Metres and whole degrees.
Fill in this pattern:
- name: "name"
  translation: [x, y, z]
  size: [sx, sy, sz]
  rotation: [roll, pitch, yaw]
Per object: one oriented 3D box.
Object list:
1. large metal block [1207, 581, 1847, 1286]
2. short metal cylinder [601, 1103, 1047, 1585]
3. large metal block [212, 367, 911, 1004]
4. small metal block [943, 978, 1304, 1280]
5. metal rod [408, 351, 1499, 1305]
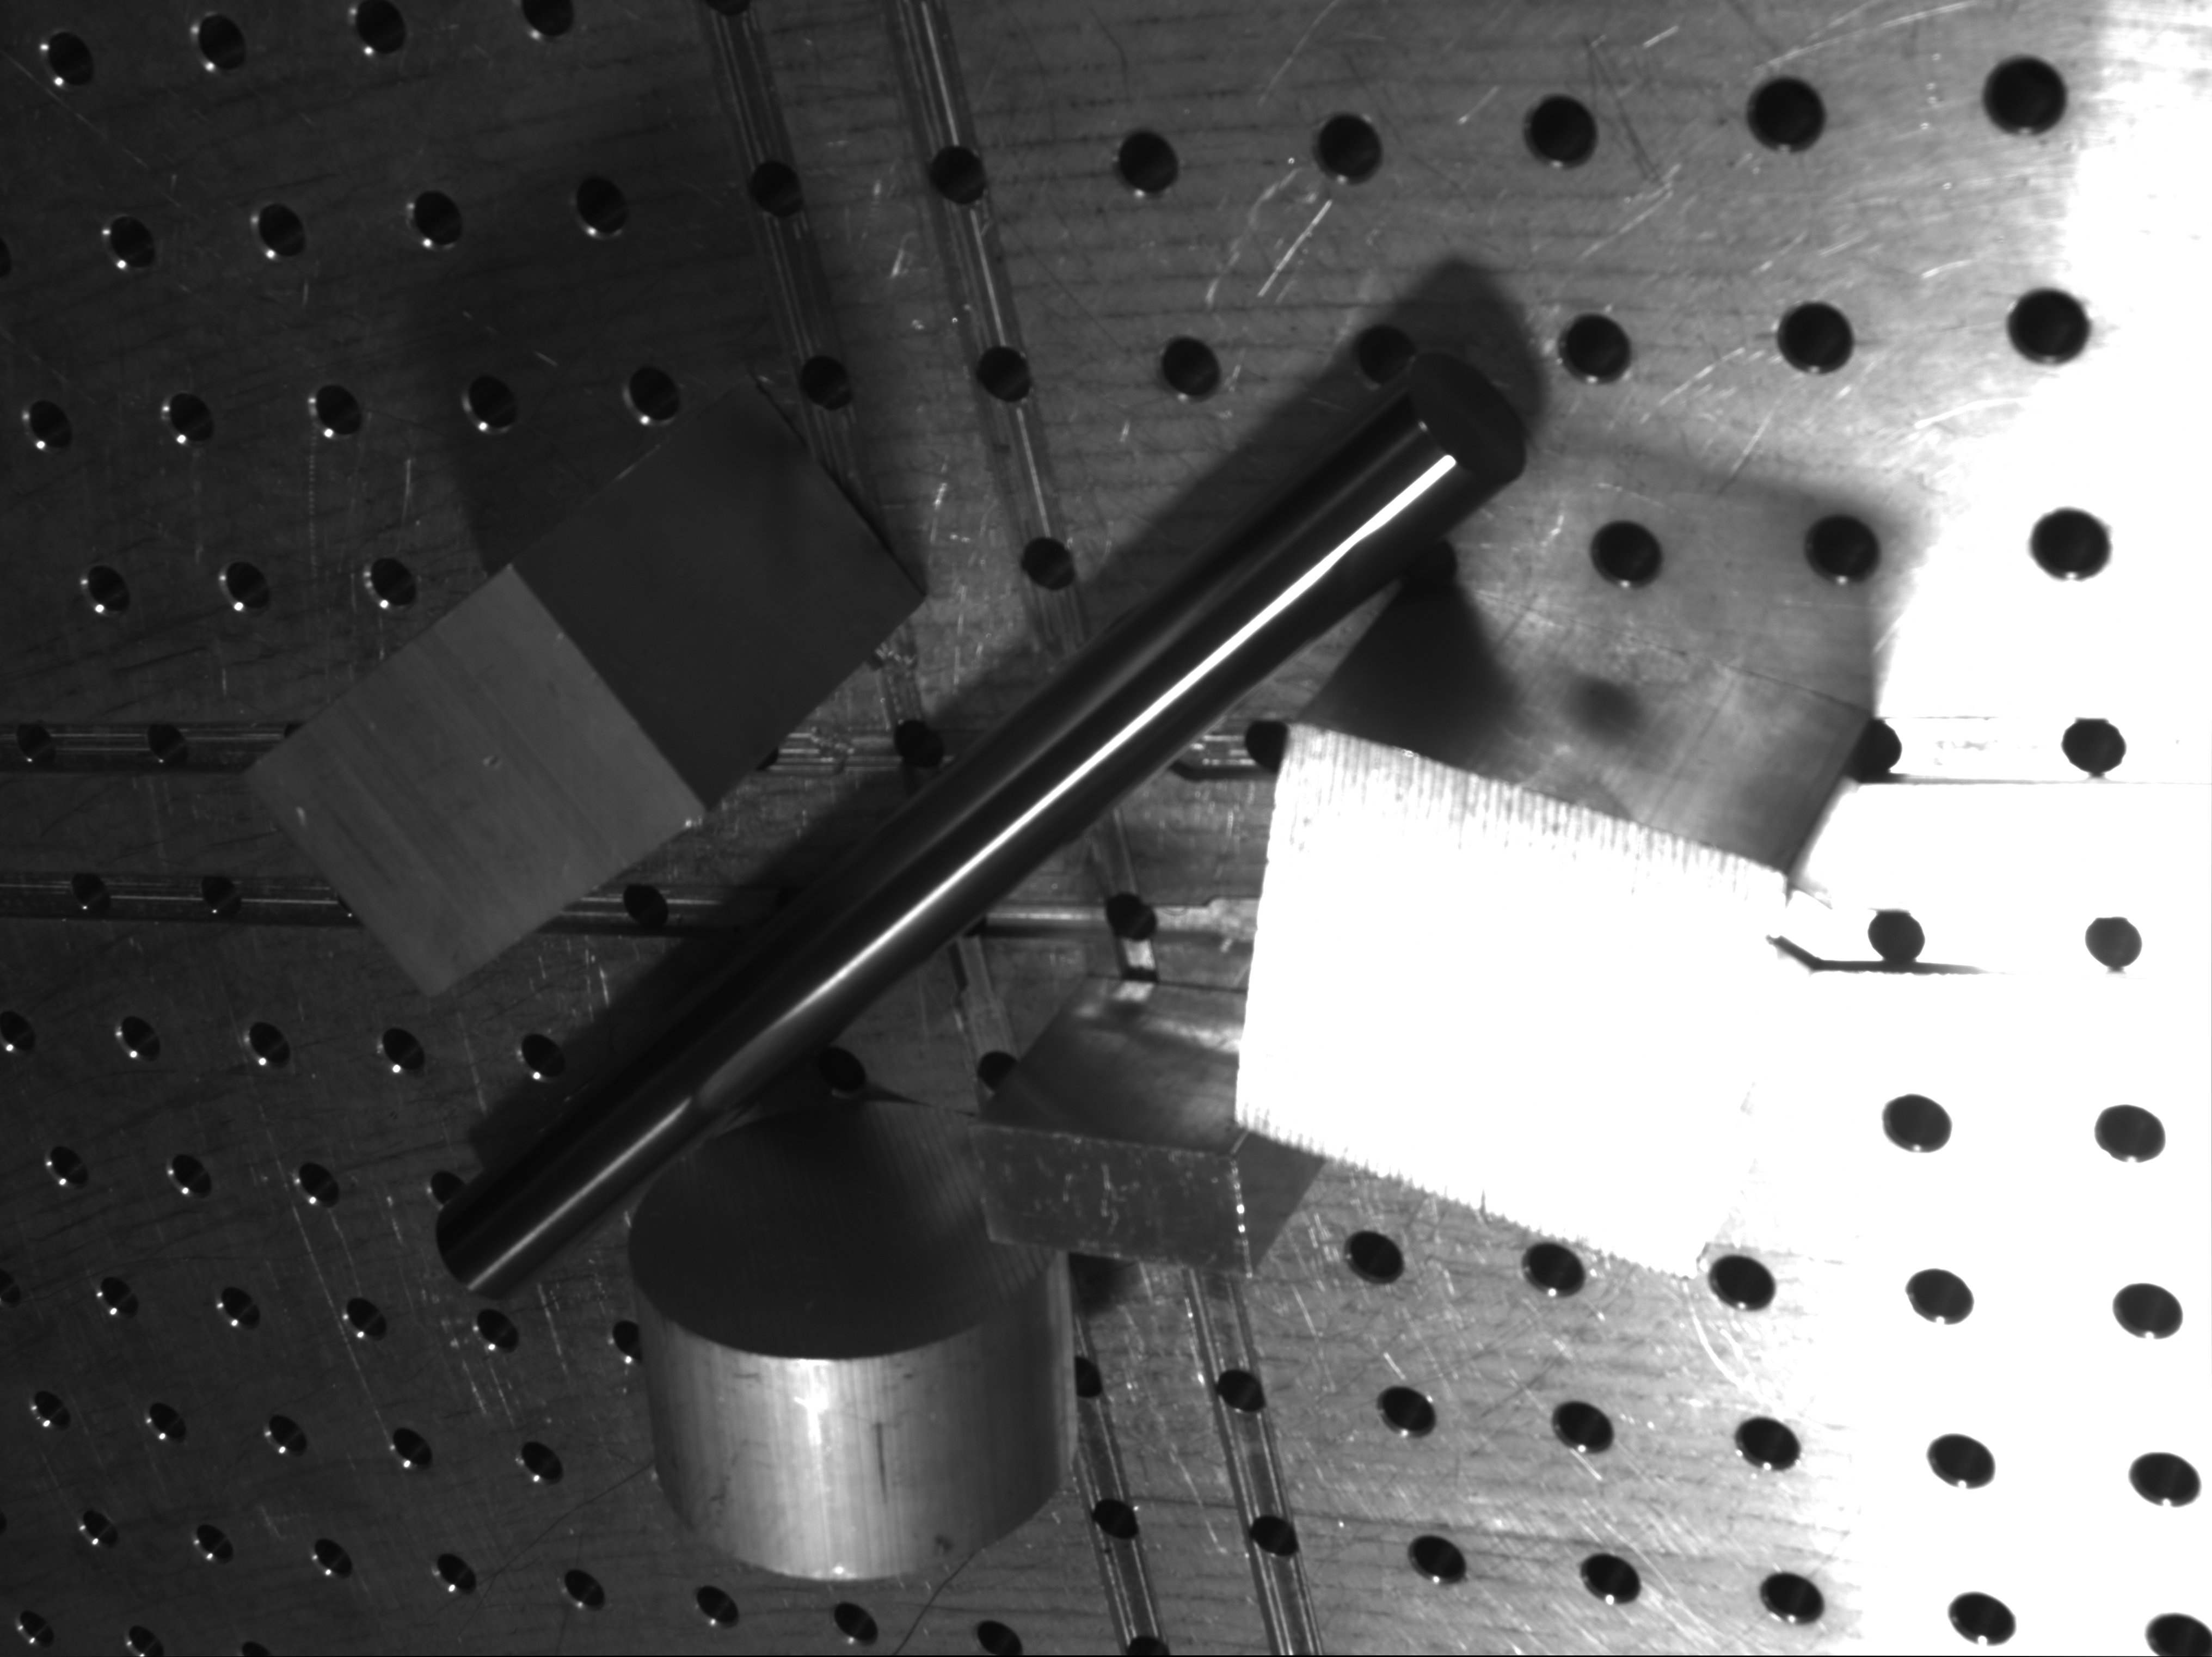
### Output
- name: "large metal block"
  translation: [0.067, 0.016, 0.591]
  size: [0.080, 0.050, 0.080]
  rotation: [18, 125, 17]
- name: "short metal cylinder"
  translation: [-0.051, 0.094, 0.681]
  size: [0.080, 0.080, 0.050]
  rotation: [11, 123, 21]
- name: "large metal block"
  translation: [-0.093, -0.025, 0.632]
  size: [0.080, 0.080, 0.050]
  rotation: [-32, 101, 37]
- name: "small metal block"
  translation: [0.006, 0.052, 0.647]
  size: [0.050, 0.050, 0.025]
  rotation: [5, 120, 24]
- name: "metal rod"
  translation: [-0.040, 0.011, 0.660]
  size: [0.025, 0.025, 0.299]
  rotation: [47, 128, -5]
